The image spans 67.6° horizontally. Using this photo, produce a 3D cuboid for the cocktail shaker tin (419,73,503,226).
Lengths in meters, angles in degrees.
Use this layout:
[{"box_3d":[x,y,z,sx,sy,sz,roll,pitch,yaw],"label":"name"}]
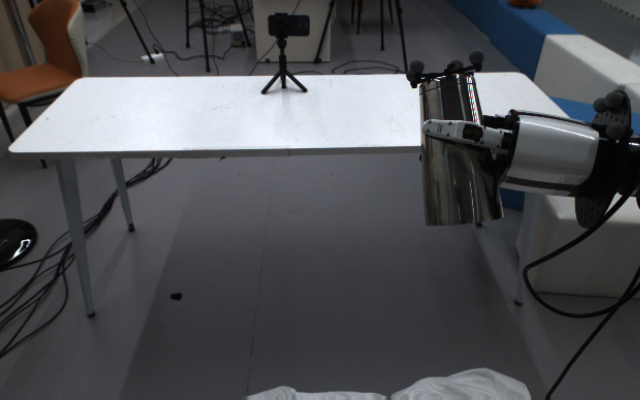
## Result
[{"box_3d":[0.165,-0.059,0.587,0.093,0.170,0.093,-8,1,0],"label":"cocktail shaker tin"}]
